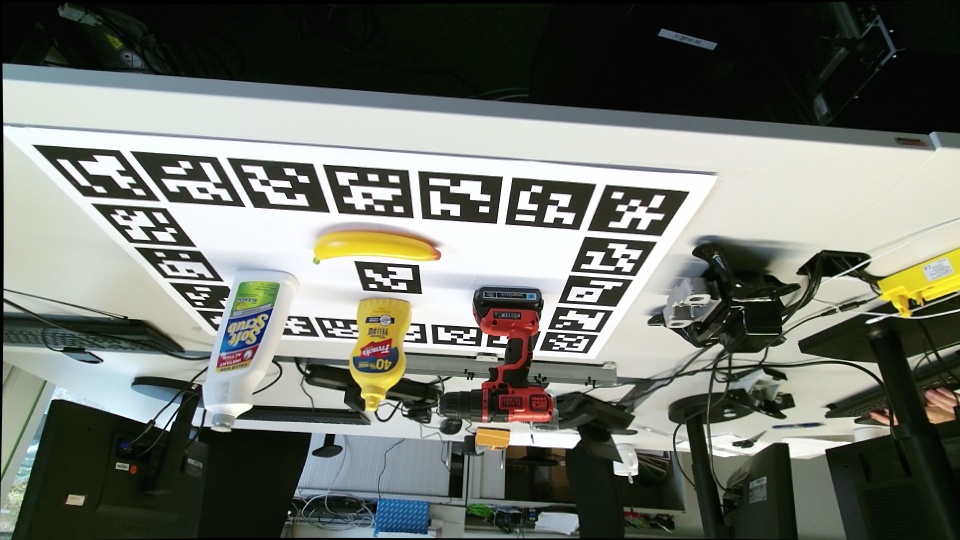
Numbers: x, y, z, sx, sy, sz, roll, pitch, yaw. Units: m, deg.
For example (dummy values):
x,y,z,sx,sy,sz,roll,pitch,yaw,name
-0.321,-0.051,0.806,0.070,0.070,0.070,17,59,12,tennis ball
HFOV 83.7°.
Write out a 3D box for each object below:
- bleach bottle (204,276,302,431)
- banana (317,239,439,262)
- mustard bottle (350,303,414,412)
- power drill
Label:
x,y,z,sx,sy,sz,roll,pitch,yaw,name
-0.365,0.132,0.857,0.103,0.249,0.068,8,148,-8,bleach bottle
-0.158,-0.016,0.785,0.198,0.038,0.074,-1,146,2,banana
-0.176,0.152,0.932,0.096,0.190,0.058,1,148,7,mustard bottle
0.015,0.165,0.880,0.185,0.186,0.057,-2,148,1,power drill
